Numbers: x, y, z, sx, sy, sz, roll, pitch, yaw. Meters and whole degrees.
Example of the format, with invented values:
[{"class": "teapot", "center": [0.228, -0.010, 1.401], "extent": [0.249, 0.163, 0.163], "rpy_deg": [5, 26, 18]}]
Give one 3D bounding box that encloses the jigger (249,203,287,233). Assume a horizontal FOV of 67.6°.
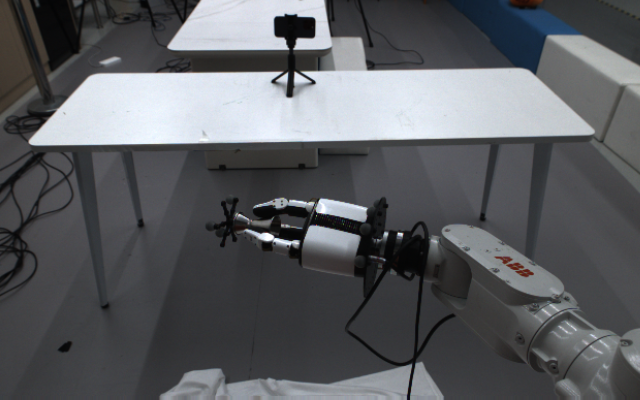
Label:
[{"class": "jigger", "center": [-0.096, 0.036, 0.796], "extent": [0.071, 0.043, 0.043], "rpy_deg": [5, 34, 18]}]
